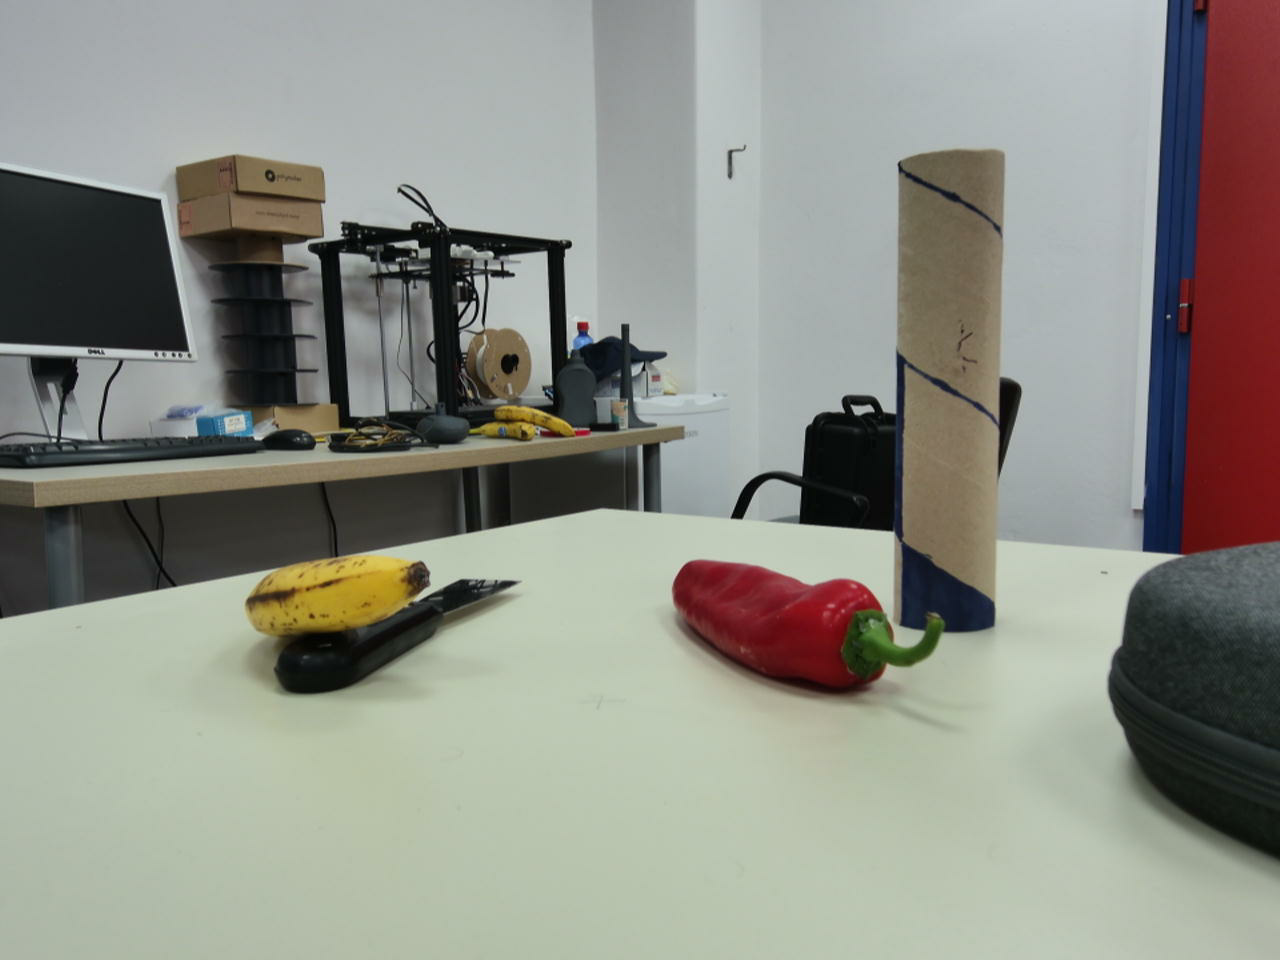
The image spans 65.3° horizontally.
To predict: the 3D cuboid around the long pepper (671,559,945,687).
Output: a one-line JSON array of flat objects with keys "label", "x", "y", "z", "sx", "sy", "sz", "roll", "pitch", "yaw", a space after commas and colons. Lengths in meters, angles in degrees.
[{"label": "long pepper", "x": 0.058, "y": 0.058, "z": 0.447, "sx": 0.050, "sy": 0.043, "sz": 0.211, "roll": -1, "pitch": 4, "yaw": -21}]
